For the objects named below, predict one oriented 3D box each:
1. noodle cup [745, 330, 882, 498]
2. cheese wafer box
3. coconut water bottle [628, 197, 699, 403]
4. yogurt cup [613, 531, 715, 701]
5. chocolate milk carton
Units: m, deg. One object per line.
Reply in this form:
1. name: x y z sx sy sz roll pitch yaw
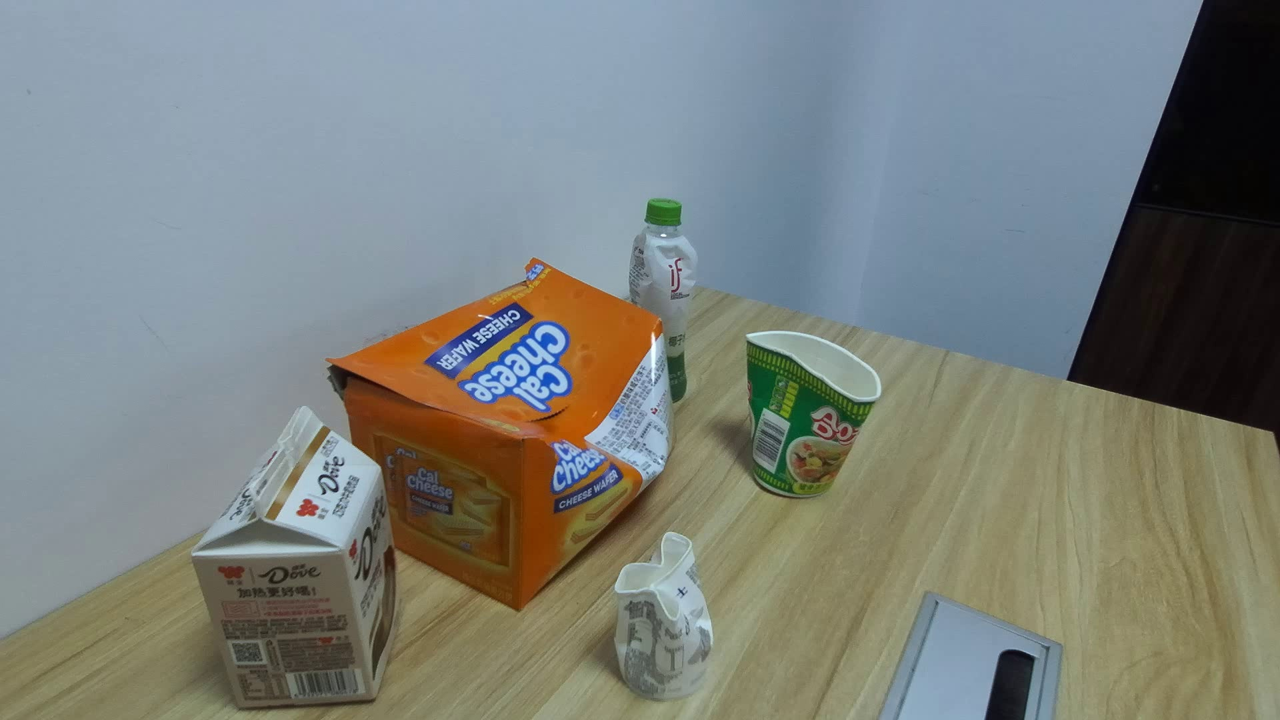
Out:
1. noodle cup: 0.127 0.045 0.552 0.070 0.111 0.114 -5 30 -13
2. cheese wafer box: -0.071 0.039 0.522 0.190 0.145 0.219 16 31 25
3. coconut water bottle: 0.018 -0.053 0.656 0.067 0.187 0.067 2 26 -1
4. yogurt cup: 0.013 0.145 0.398 0.055 0.072 0.055 21 34 33
5. chocolate milk carton: -0.178 0.104 0.376 0.074 0.148 0.075 -1 26 -5
